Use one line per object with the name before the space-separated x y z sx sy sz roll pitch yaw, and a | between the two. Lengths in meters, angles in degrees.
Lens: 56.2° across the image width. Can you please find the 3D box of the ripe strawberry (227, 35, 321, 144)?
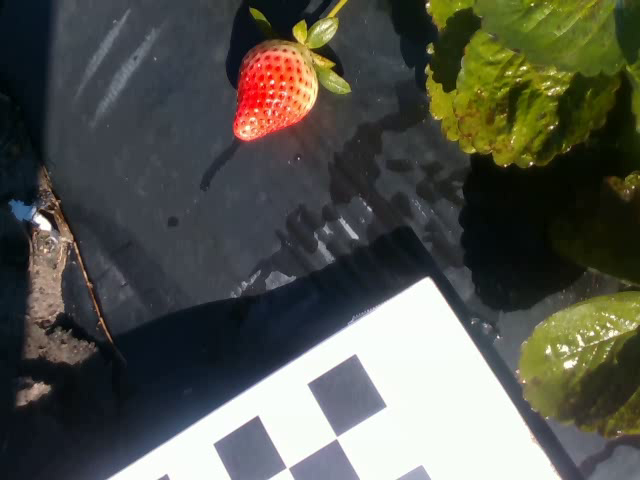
ripe strawberry | -0.020 -0.059 0.251 0.039 0.053 0.041 36 -15 15
